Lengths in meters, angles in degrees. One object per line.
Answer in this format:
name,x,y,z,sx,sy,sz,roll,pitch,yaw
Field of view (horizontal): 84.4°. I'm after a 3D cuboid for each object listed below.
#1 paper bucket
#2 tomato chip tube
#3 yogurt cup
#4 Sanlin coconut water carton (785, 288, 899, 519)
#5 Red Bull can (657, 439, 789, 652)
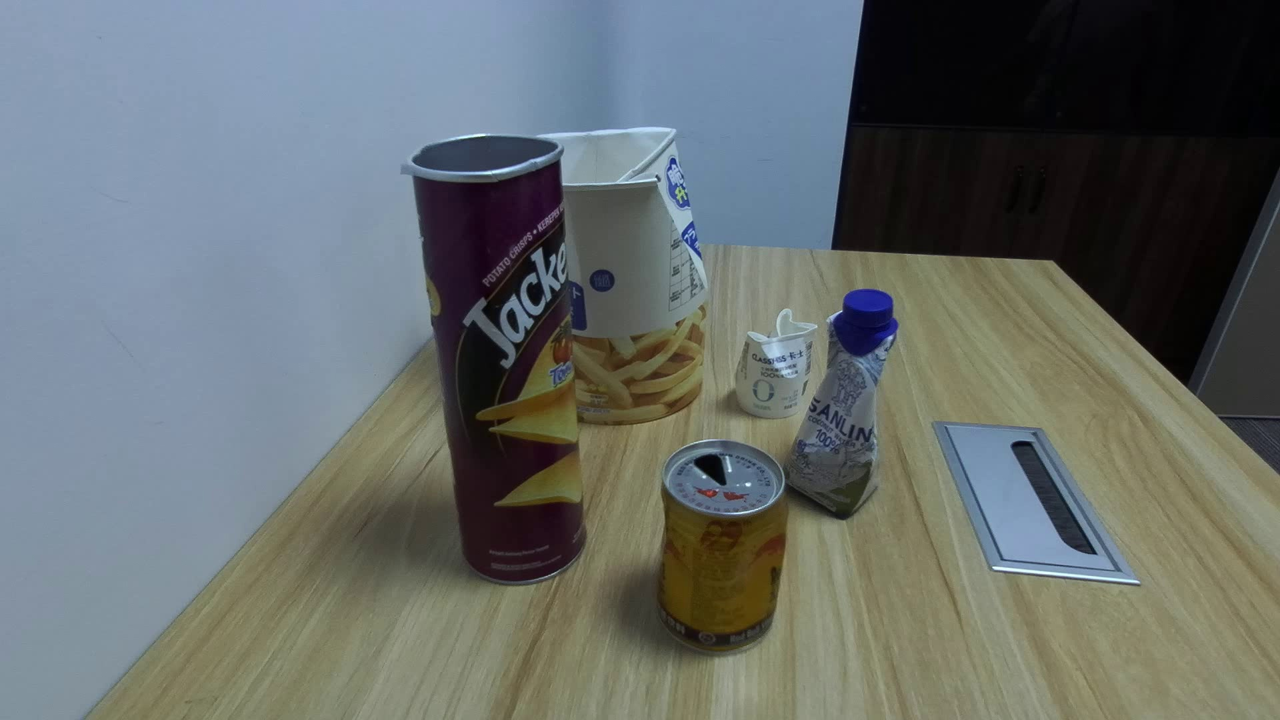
paper bucket,-0.017,-0.064,0.554,0.169,0.202,0.162,-13,32,-18
tomato chip tube,-0.070,0.007,0.382,0.076,0.234,0.080,23,36,38
yogurt cup,0.105,0.005,0.554,0.055,0.072,0.055,-11,31,-17
Sanlin coconut water carton,0.140,0.025,0.448,0.056,0.144,0.069,29,29,31
Red Bull can,0.041,0.095,0.364,0.068,0.093,0.068,0,28,0
